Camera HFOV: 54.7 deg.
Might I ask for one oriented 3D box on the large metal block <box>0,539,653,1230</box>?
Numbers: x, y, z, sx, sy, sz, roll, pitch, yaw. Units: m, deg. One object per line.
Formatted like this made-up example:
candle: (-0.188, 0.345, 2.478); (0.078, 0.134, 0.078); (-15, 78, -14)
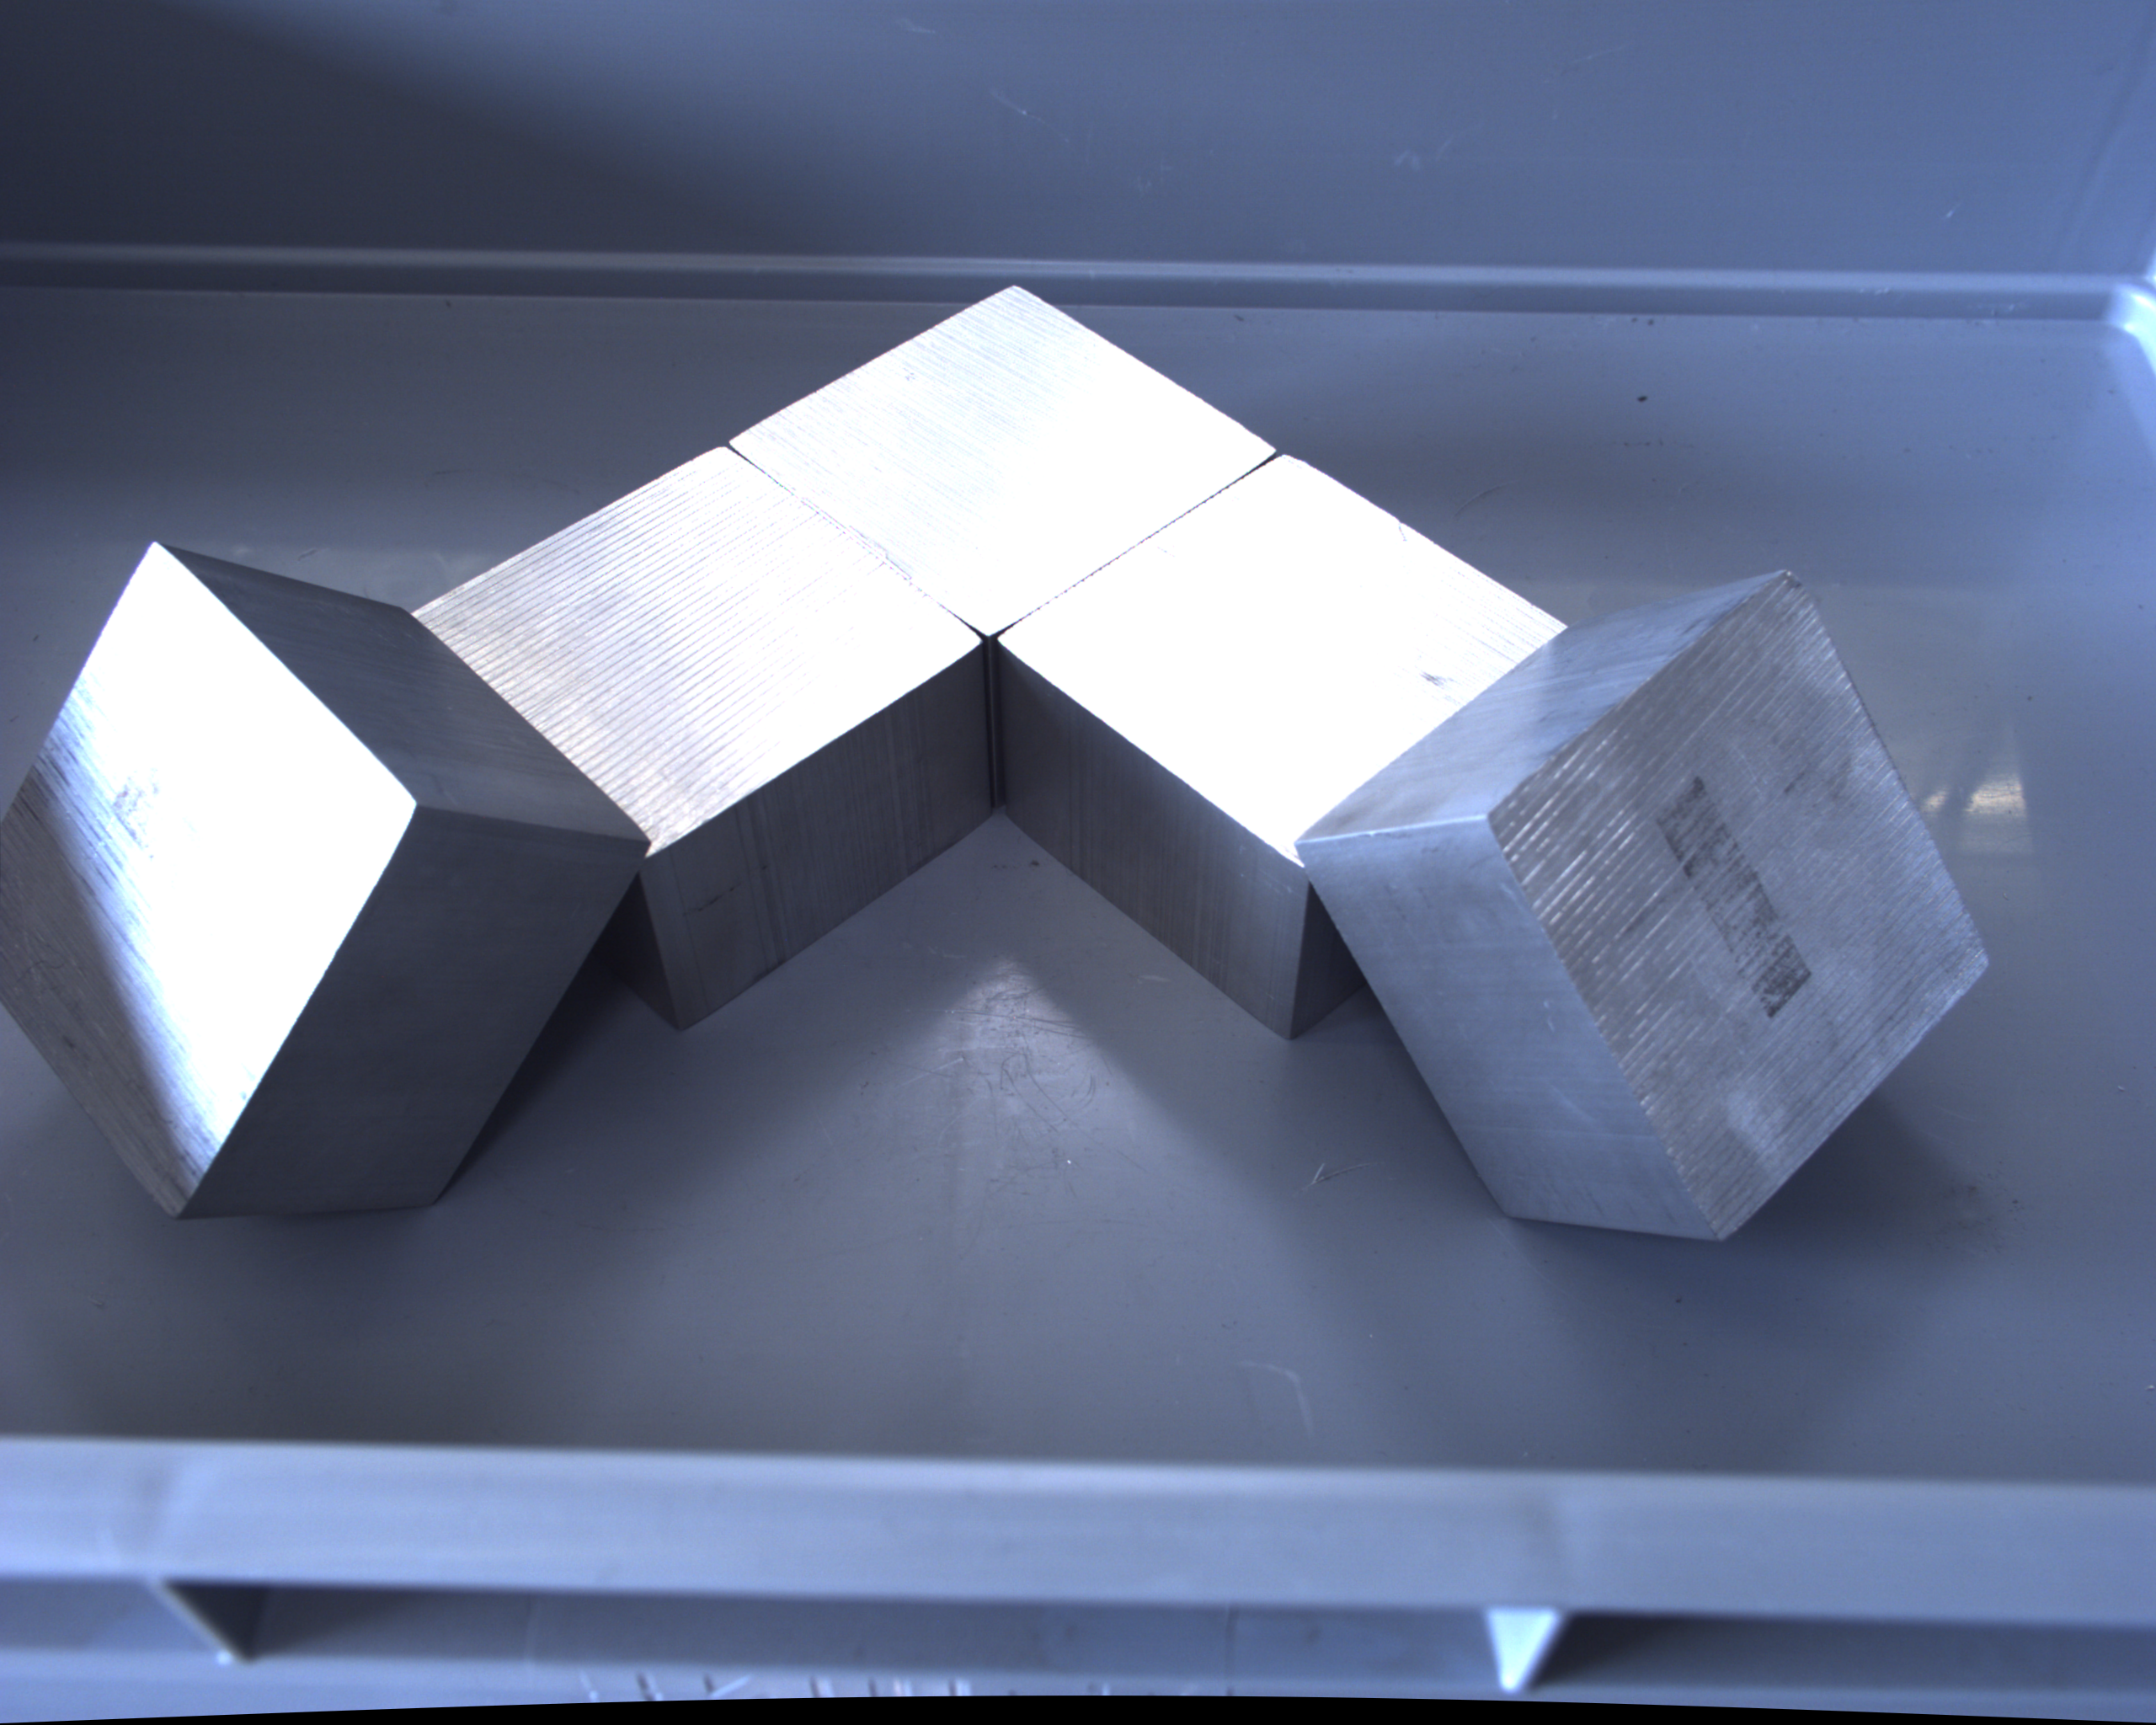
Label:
large metal block: (-0.133, 0.004, 0.354); (0.080, 0.050, 0.080); (39, 102, 27)

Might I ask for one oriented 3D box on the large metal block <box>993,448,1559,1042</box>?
large metal block: (0.041, -0.025, 0.408); (0.080, 0.050, 0.080); (-36, 59, -27)

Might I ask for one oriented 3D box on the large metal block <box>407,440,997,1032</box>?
large metal block: (-0.073, -0.027, 0.409); (0.080, 0.050, 0.080); (-36, 59, -27)

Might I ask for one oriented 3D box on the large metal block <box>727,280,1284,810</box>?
large metal block: (-0.015, -0.070, 0.445); (0.080, 0.050, 0.080); (-36, 59, -27)

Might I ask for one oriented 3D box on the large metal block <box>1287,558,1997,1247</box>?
large metal block: (0.096, 0.007, 0.354); (0.080, 0.050, 0.080); (-36, 102, -26)
